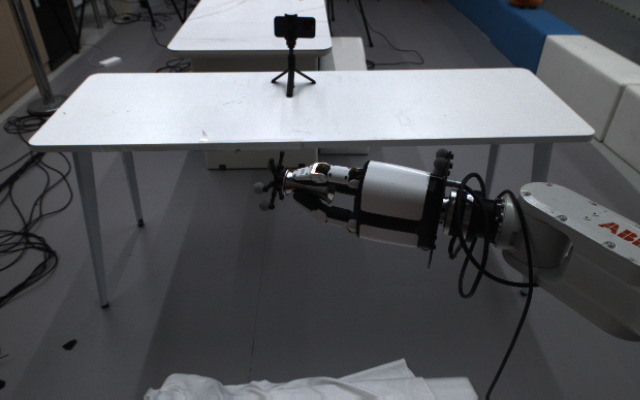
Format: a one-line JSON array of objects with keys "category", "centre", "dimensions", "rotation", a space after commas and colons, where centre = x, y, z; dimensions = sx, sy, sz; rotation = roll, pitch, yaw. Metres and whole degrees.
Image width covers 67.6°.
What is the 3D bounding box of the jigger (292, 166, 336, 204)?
[{"category": "jigger", "centre": [-0.009, -0.026, 0.695], "dimensions": [0.071, 0.043, 0.043], "rotation": [9, 35, 16]}]
